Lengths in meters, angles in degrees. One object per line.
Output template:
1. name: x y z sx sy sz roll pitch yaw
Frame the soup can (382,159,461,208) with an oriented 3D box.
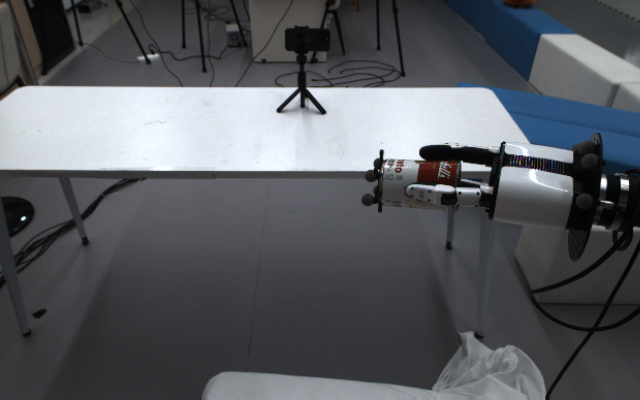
1. soup can: 0.140 -0.022 0.664 0.101 0.067 0.067 4 34 18
